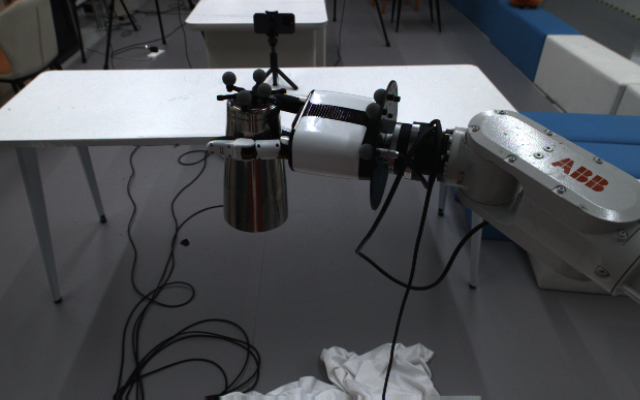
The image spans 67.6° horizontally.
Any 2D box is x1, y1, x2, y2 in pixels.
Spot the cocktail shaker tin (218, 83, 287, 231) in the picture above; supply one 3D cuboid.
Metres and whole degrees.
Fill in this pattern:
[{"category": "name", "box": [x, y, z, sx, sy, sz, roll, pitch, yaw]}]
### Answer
[{"category": "cocktail shaker tin", "box": [-0.085, -0.055, 0.650, 0.093, 0.170, 0.093, 2, 33, -2]}]
